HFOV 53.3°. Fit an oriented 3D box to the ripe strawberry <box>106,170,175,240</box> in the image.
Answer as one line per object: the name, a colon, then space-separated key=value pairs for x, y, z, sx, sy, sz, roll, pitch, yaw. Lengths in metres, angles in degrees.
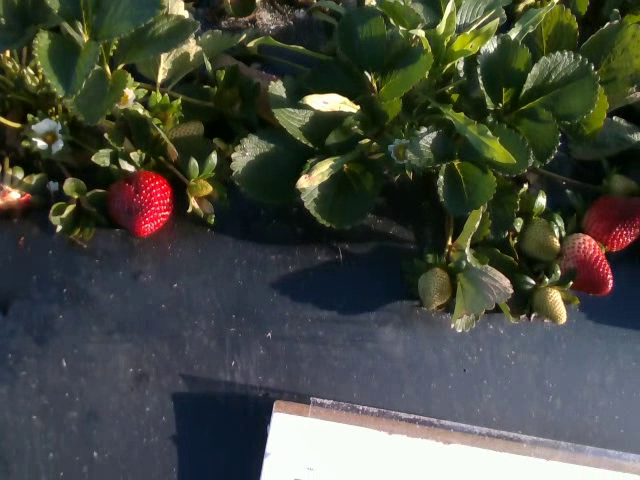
ripe strawberry: x=-0.119 y=-0.020 z=0.416 sx=0.052 sy=0.041 sz=0.051 roll=-20 pitch=37 yaw=1
